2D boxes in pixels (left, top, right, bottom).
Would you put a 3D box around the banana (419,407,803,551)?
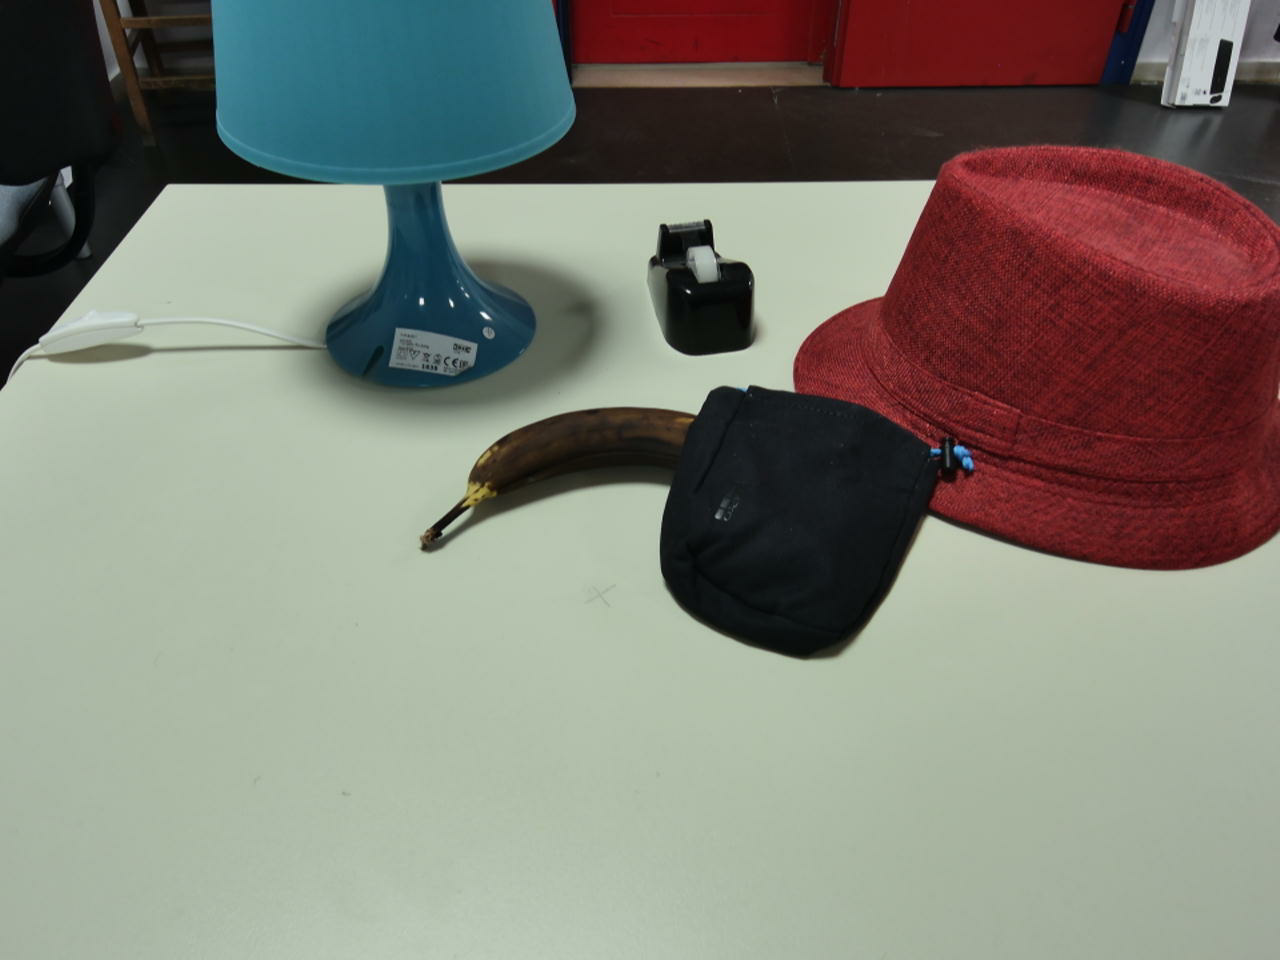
[{"bbox_3d":[-0.013,-0.006,0.510,0.188,0.034,0.091,0,39,1],"label":"banana"}]
